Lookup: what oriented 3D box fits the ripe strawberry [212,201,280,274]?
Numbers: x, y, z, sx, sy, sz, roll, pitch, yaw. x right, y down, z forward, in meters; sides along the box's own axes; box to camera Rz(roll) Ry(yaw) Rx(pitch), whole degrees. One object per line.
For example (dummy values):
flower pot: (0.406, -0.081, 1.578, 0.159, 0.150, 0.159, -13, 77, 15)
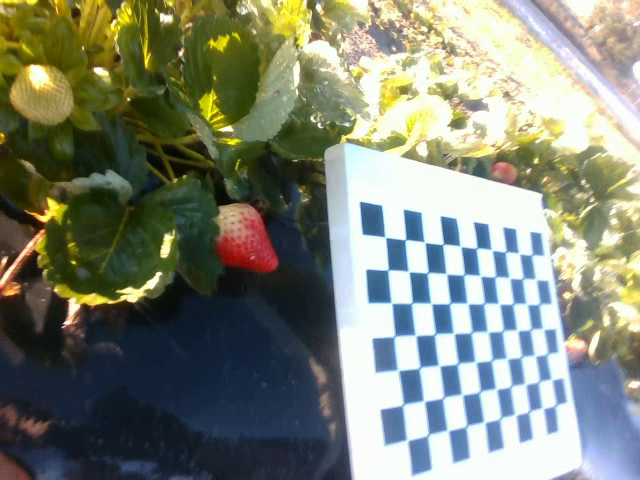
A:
ripe strawberry: (-0.048, 0.004, 0.406, 0.040, 0.065, 0.040, -17, 33, 43)
